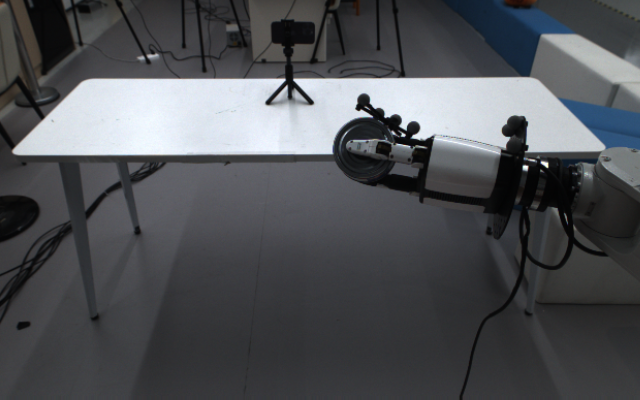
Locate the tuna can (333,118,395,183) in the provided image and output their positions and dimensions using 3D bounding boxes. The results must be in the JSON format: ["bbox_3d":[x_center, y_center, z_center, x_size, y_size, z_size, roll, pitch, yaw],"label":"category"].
[{"bbox_3d":[0.065,-0.062,0.656,0.085,0.085,0.034,13,-4,15],"label":"tuna can"}]
